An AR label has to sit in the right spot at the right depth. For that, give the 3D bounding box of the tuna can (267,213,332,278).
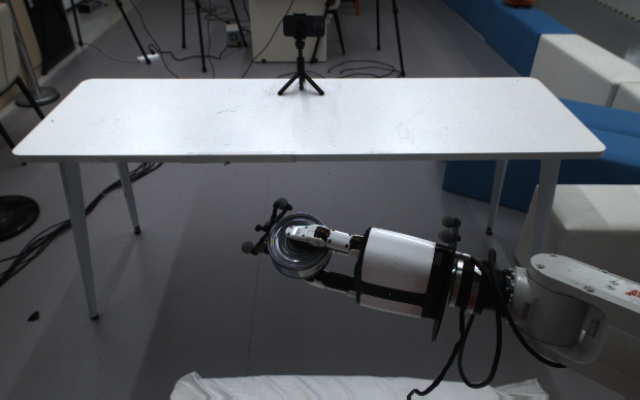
[{"bbox_3d":[-0.023,0.065,0.649,0.085,0.034,0.085,-1,62,1],"label":"tuna can"}]
